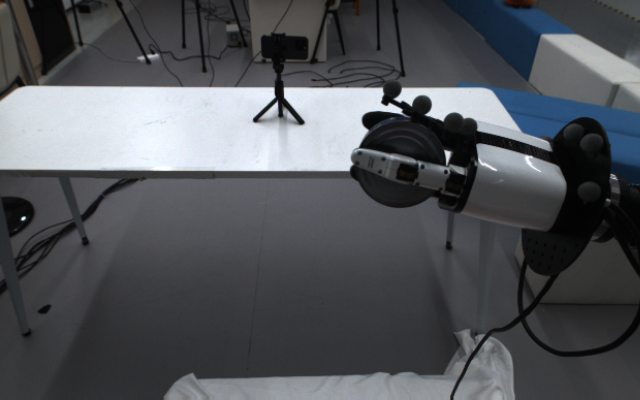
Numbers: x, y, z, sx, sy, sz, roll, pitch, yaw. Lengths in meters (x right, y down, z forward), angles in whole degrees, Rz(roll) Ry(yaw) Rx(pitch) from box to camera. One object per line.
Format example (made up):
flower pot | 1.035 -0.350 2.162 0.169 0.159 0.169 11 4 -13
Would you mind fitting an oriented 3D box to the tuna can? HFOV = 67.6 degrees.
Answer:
tuna can | 0.081 -0.040 0.476 0.085 0.085 0.034 7 17 6
